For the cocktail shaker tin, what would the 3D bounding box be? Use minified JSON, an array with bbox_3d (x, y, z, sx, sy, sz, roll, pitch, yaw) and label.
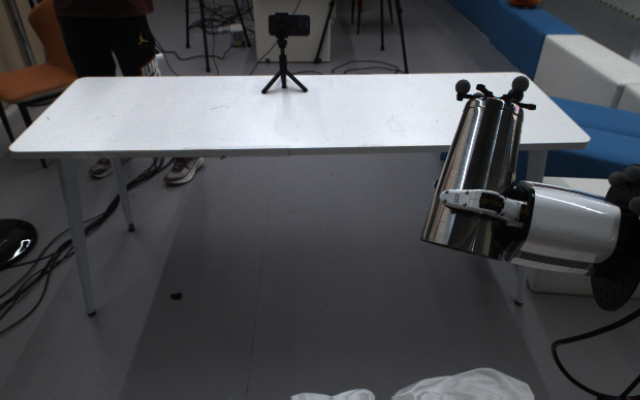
[{"bbox_3d":[0.182,-0.024,0.556,0.093,0.170,0.093,15,-4,1],"label":"cocktail shaker tin"}]
